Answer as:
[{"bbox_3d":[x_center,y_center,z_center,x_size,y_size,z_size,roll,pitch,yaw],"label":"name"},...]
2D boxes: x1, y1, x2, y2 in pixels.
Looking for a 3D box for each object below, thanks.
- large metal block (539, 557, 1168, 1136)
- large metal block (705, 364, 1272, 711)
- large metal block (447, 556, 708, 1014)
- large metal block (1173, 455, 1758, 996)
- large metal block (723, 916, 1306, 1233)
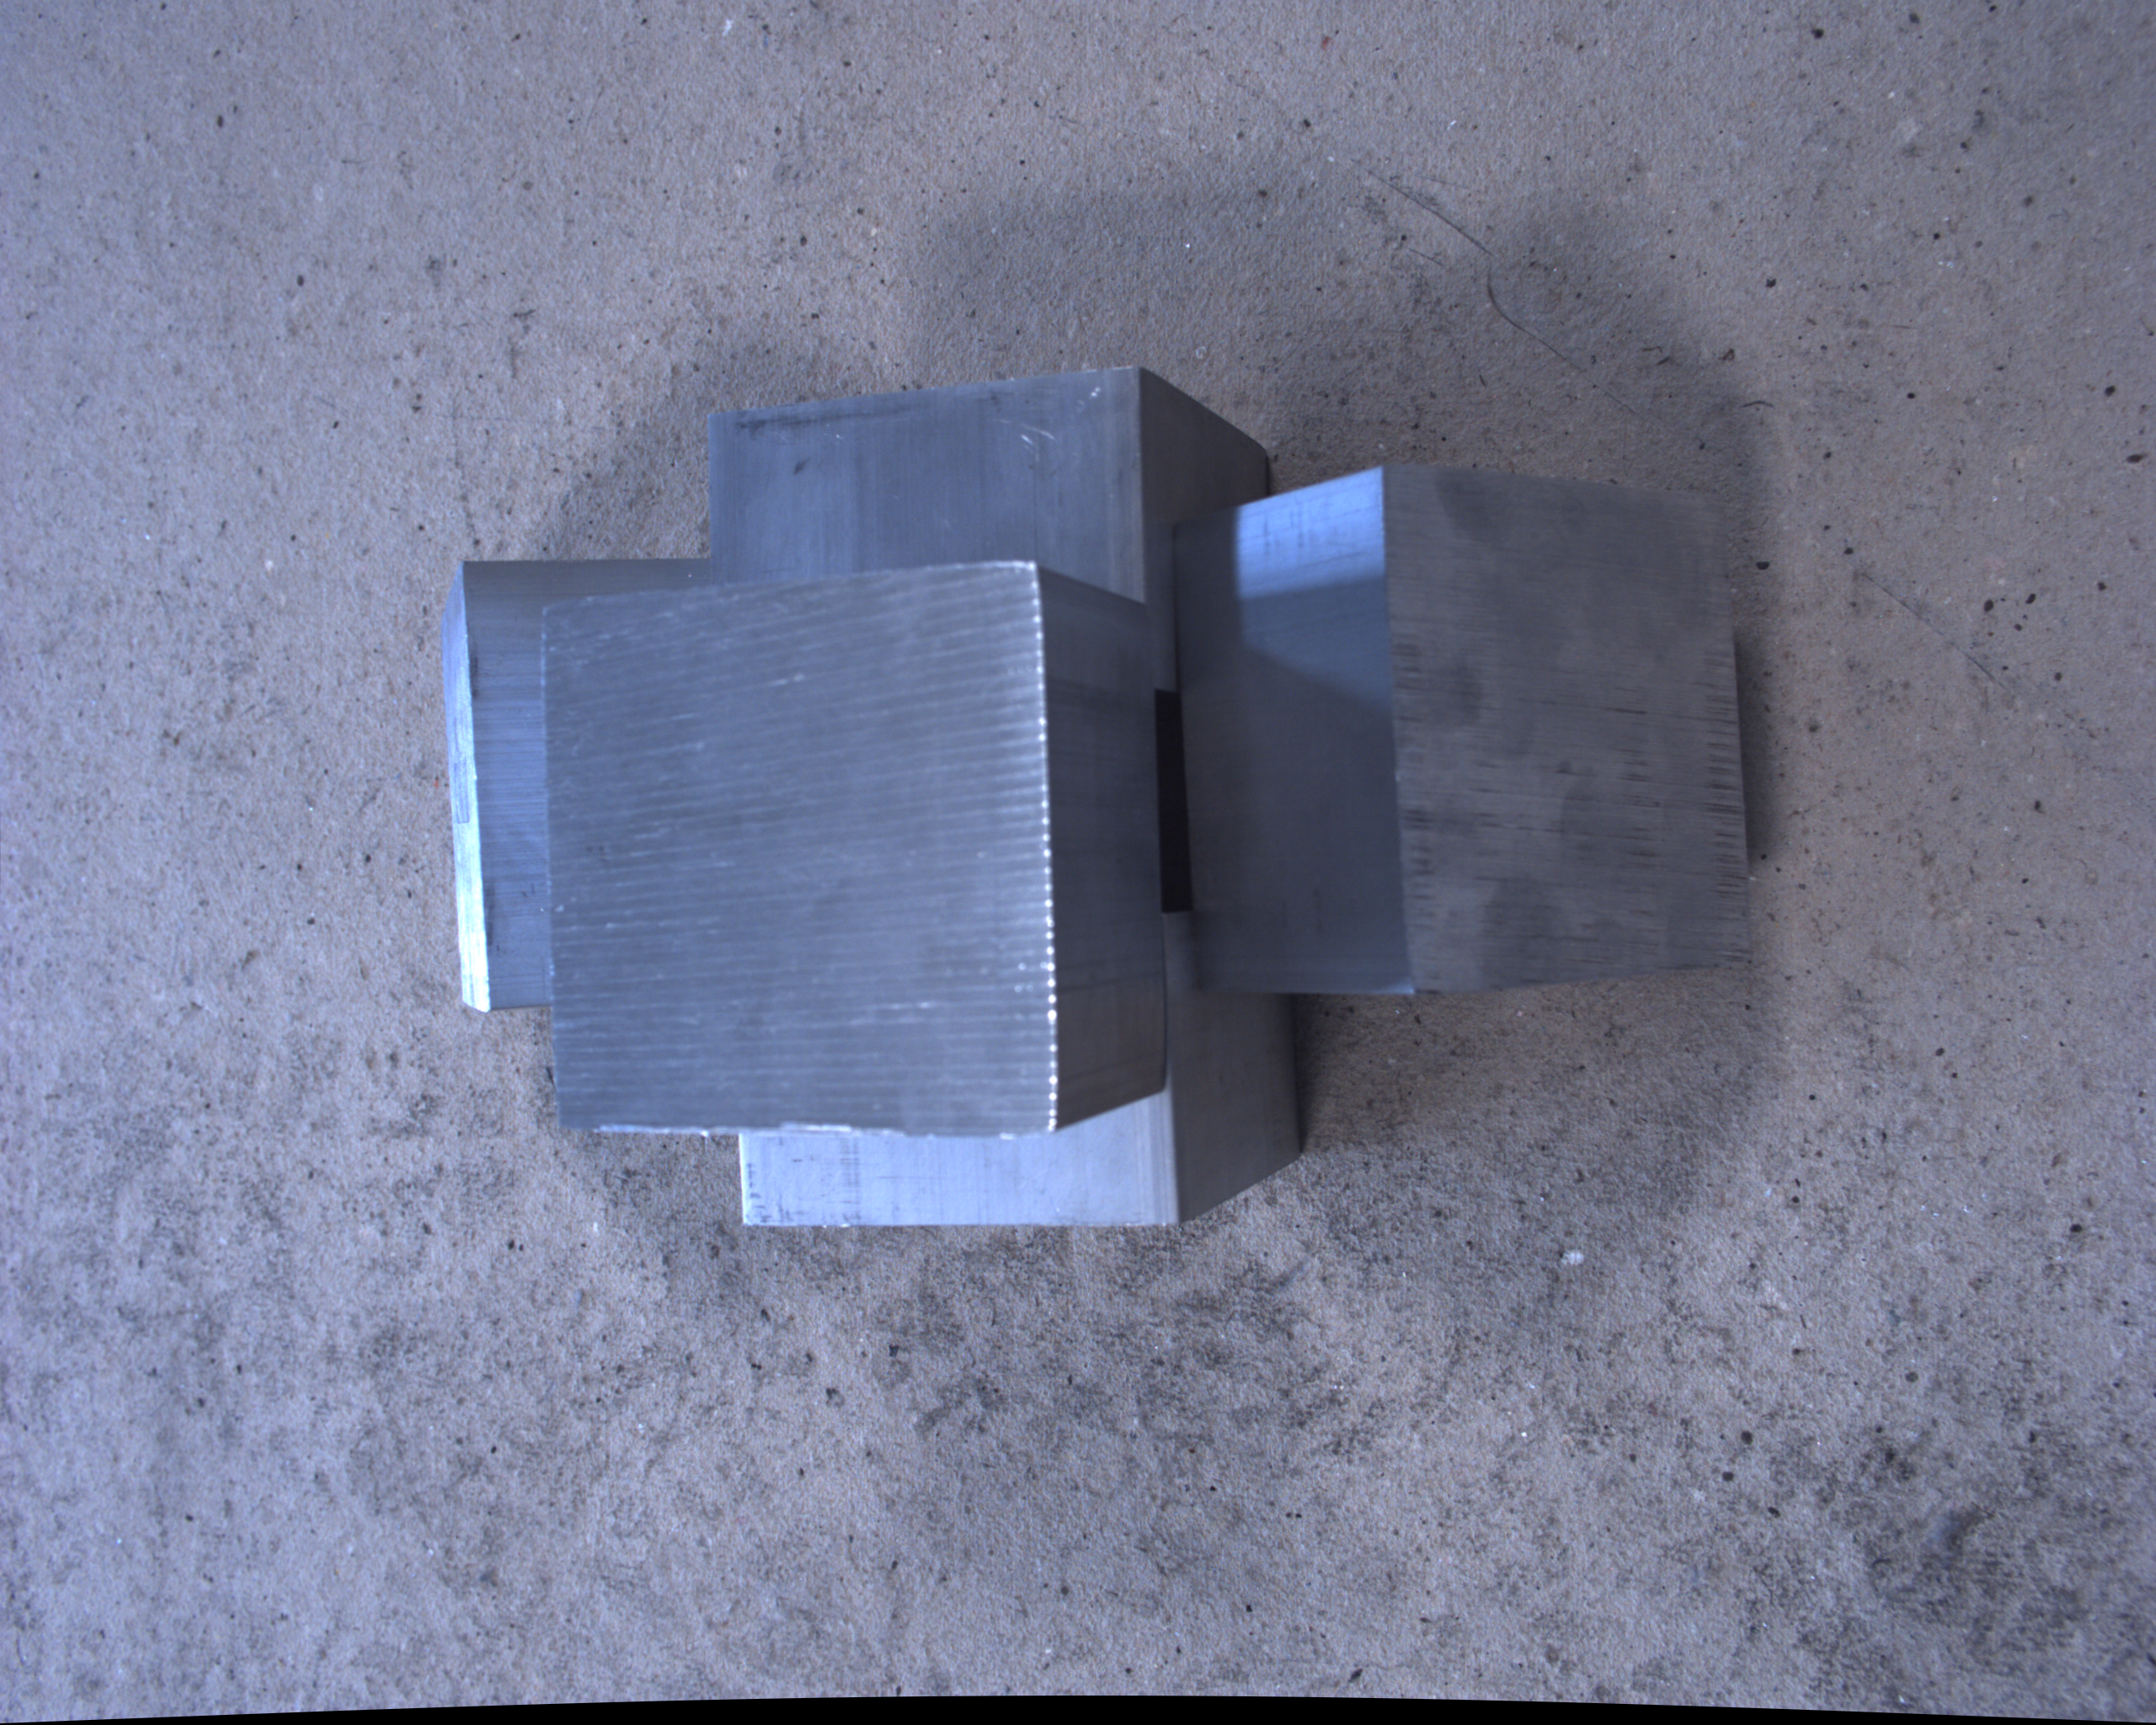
[{"bbox_3d":[-0.033,-0.001,0.323,0.080,0.050,0.080,-2,89,20],"label":"large metal block"},{"bbox_3d":[-0.012,-0.054,0.386,0.080,0.080,0.050,-2,90,19],"label":"large metal block"},{"bbox_3d":[-0.094,-0.013,0.407,0.050,0.080,0.080,-3,88,-20],"label":"large metal block"},{"bbox_3d":[0.065,-0.021,0.350,0.050,0.081,0.080,-5,88,54],"label":"large metal block"},{"bbox_3d":[-0.008,0.037,0.386,0.080,0.080,0.050,-4,89,20],"label":"large metal block"}]
